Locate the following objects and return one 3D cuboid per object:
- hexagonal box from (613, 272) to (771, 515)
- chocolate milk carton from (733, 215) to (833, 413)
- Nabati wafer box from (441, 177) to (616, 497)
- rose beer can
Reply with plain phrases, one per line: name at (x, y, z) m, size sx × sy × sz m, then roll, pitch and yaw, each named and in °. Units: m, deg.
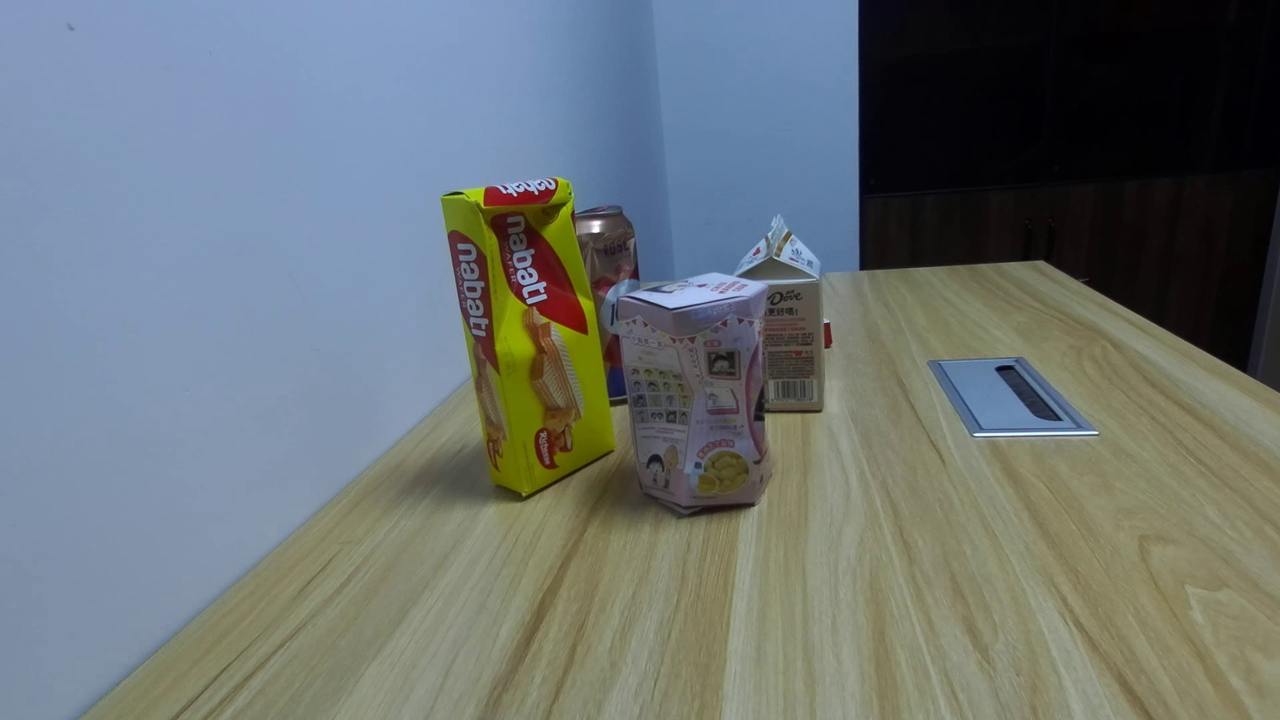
hexagonal box at (0.039, 0.020, 0.442) m, size 0.093 × 0.134 × 0.088 m, roll -9°, pitch 19°, yaw -12°
chocolate milk carton at (0.112, -0.040, 0.575) m, size 0.074 × 0.148 × 0.075 m, roll -1°, pitch 19°, yaw 15°
Nabati wafer box at (-0.070, -0.017, 0.484) m, size 0.042 × 0.203 × 0.097 m, roll 8°, pitch 20°, yaw 43°
rose beer can at (-0.030, -0.044, 0.615) m, size 0.076 × 0.167 × 0.065 m, roll -18°, pitch 12°, yaw -40°
